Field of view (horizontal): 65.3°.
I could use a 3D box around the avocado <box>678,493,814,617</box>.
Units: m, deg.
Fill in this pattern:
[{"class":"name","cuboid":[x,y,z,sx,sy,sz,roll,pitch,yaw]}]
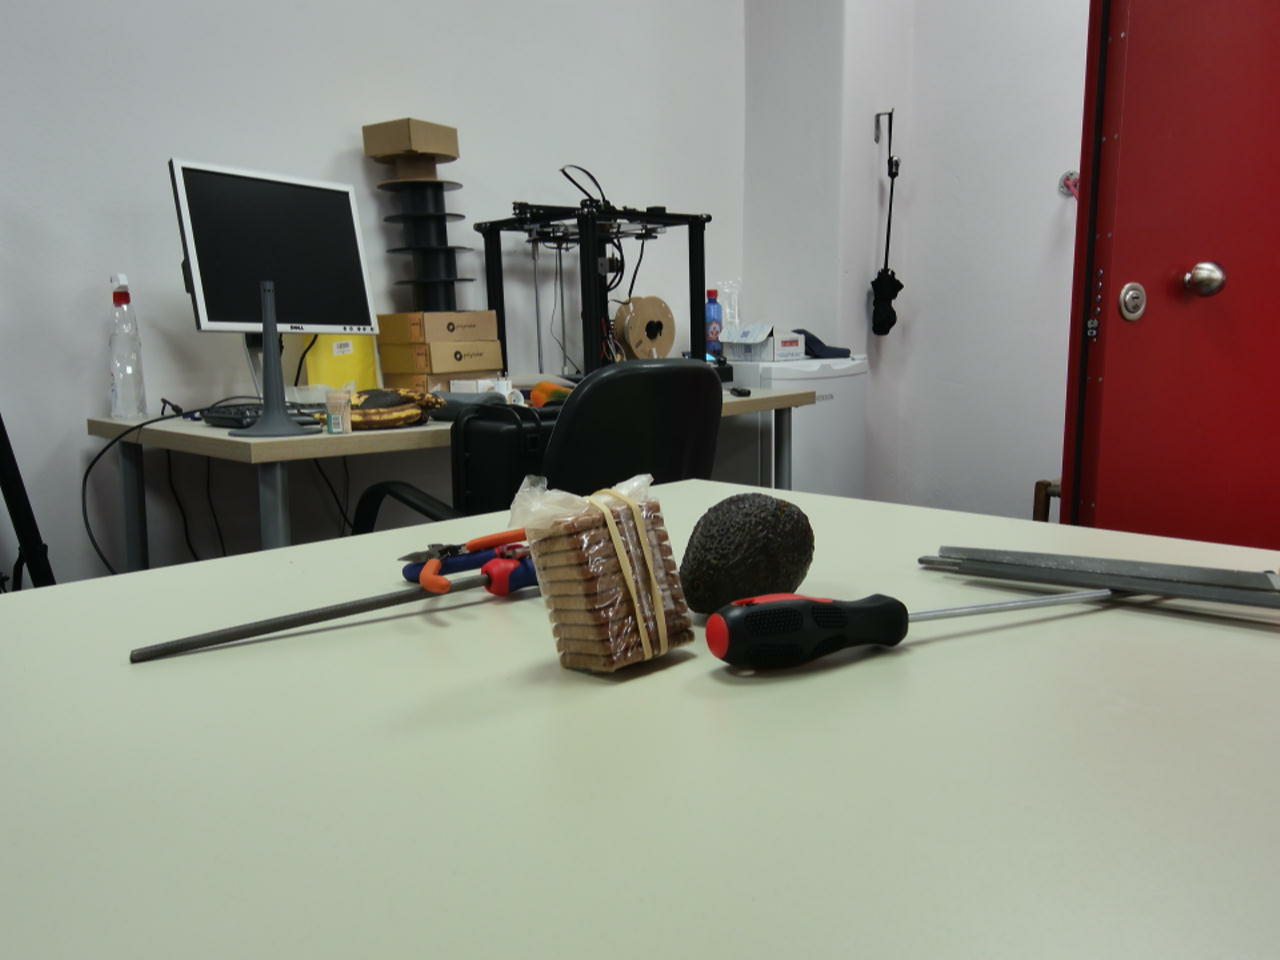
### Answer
[{"class":"avocado","cuboid":[0.061,0.043,0.599,0.090,0.069,0.070,-3,7,-18]}]
